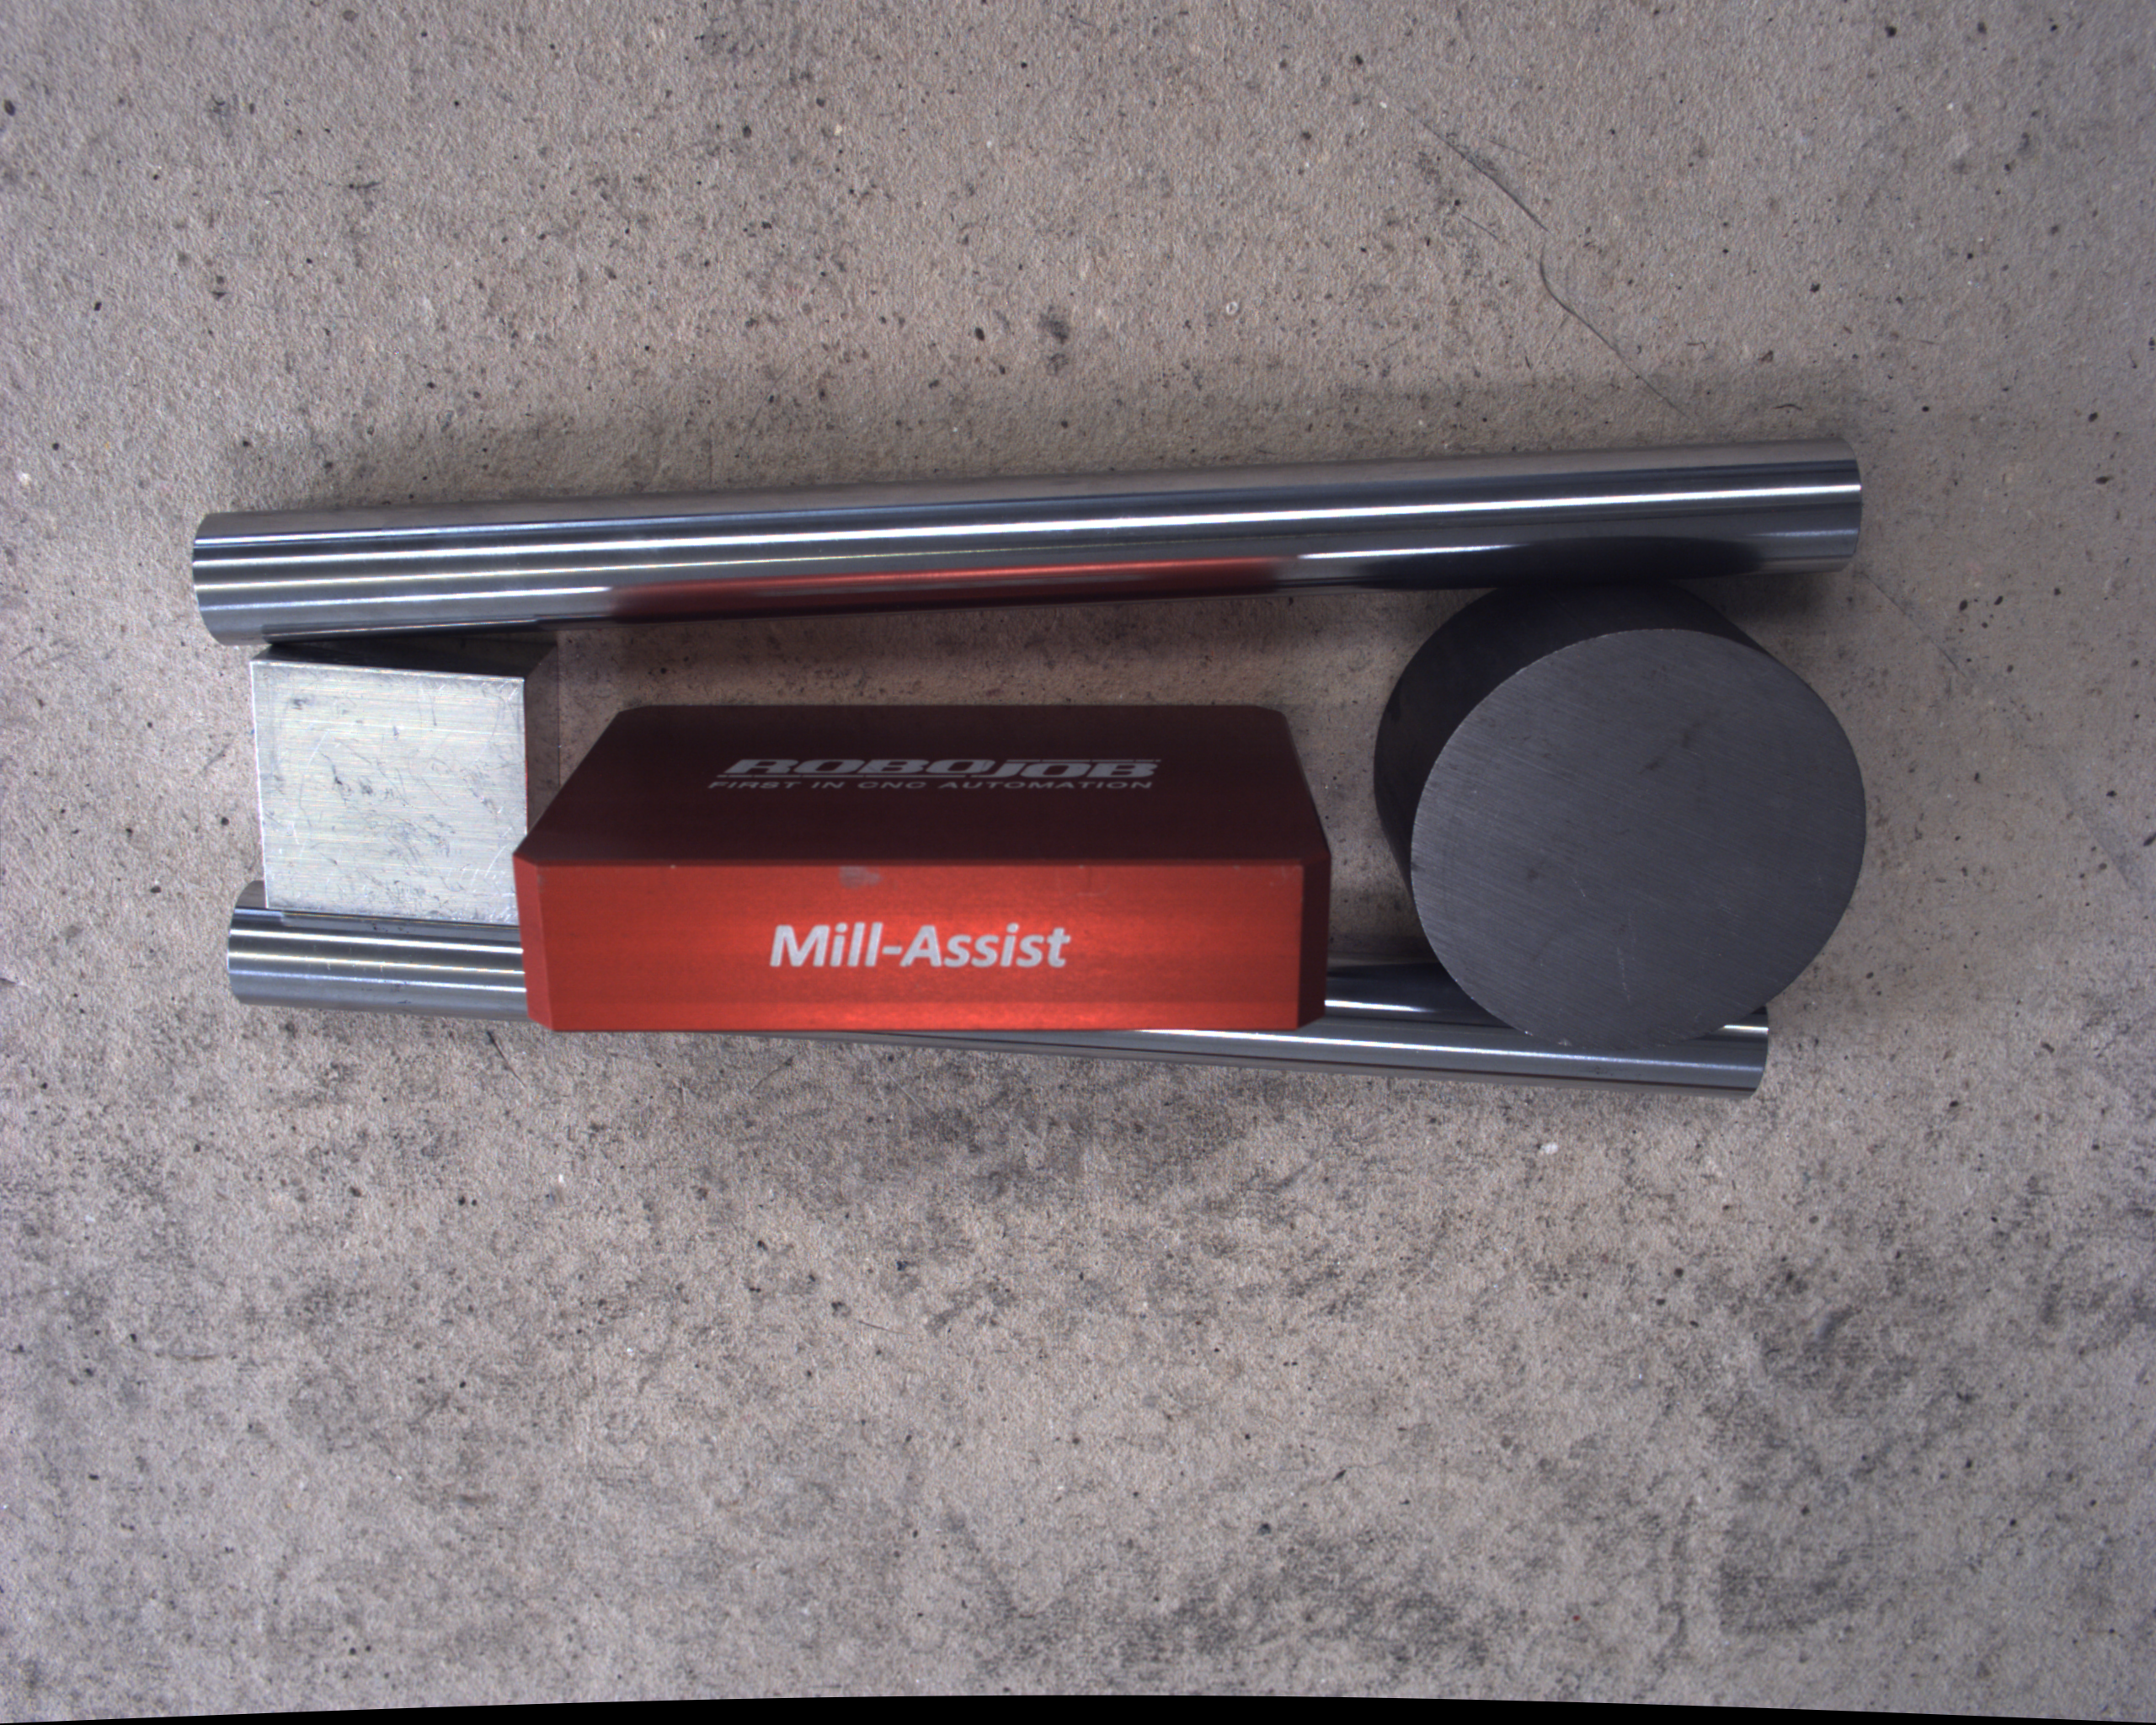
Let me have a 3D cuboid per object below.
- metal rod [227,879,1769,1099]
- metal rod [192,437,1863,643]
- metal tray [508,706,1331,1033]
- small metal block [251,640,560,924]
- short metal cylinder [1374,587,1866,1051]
[{"bbox_3d":[-0.014,0.026,0.420,0.302,0.025,0.025,4,110,-2],"label":"metal rod"},{"bbox_3d":[-0.009,-0.060,0.389,0.302,0.025,0.025,-2,110,0],"label":"metal rod"},{"bbox_3d":[-0.025,-0.002,0.374,0.131,0.090,0.030,0,110,0],"label":"metal tray"},{"bbox_3d":[-0.129,-0.017,0.404,0.050,0.025,0.050,4,110,-2],"label":"small metal block"},{"bbox_3d":[0.099,-0.011,0.394,0.081,0.050,0.079,0,110,0],"label":"short metal cylinder"}]
